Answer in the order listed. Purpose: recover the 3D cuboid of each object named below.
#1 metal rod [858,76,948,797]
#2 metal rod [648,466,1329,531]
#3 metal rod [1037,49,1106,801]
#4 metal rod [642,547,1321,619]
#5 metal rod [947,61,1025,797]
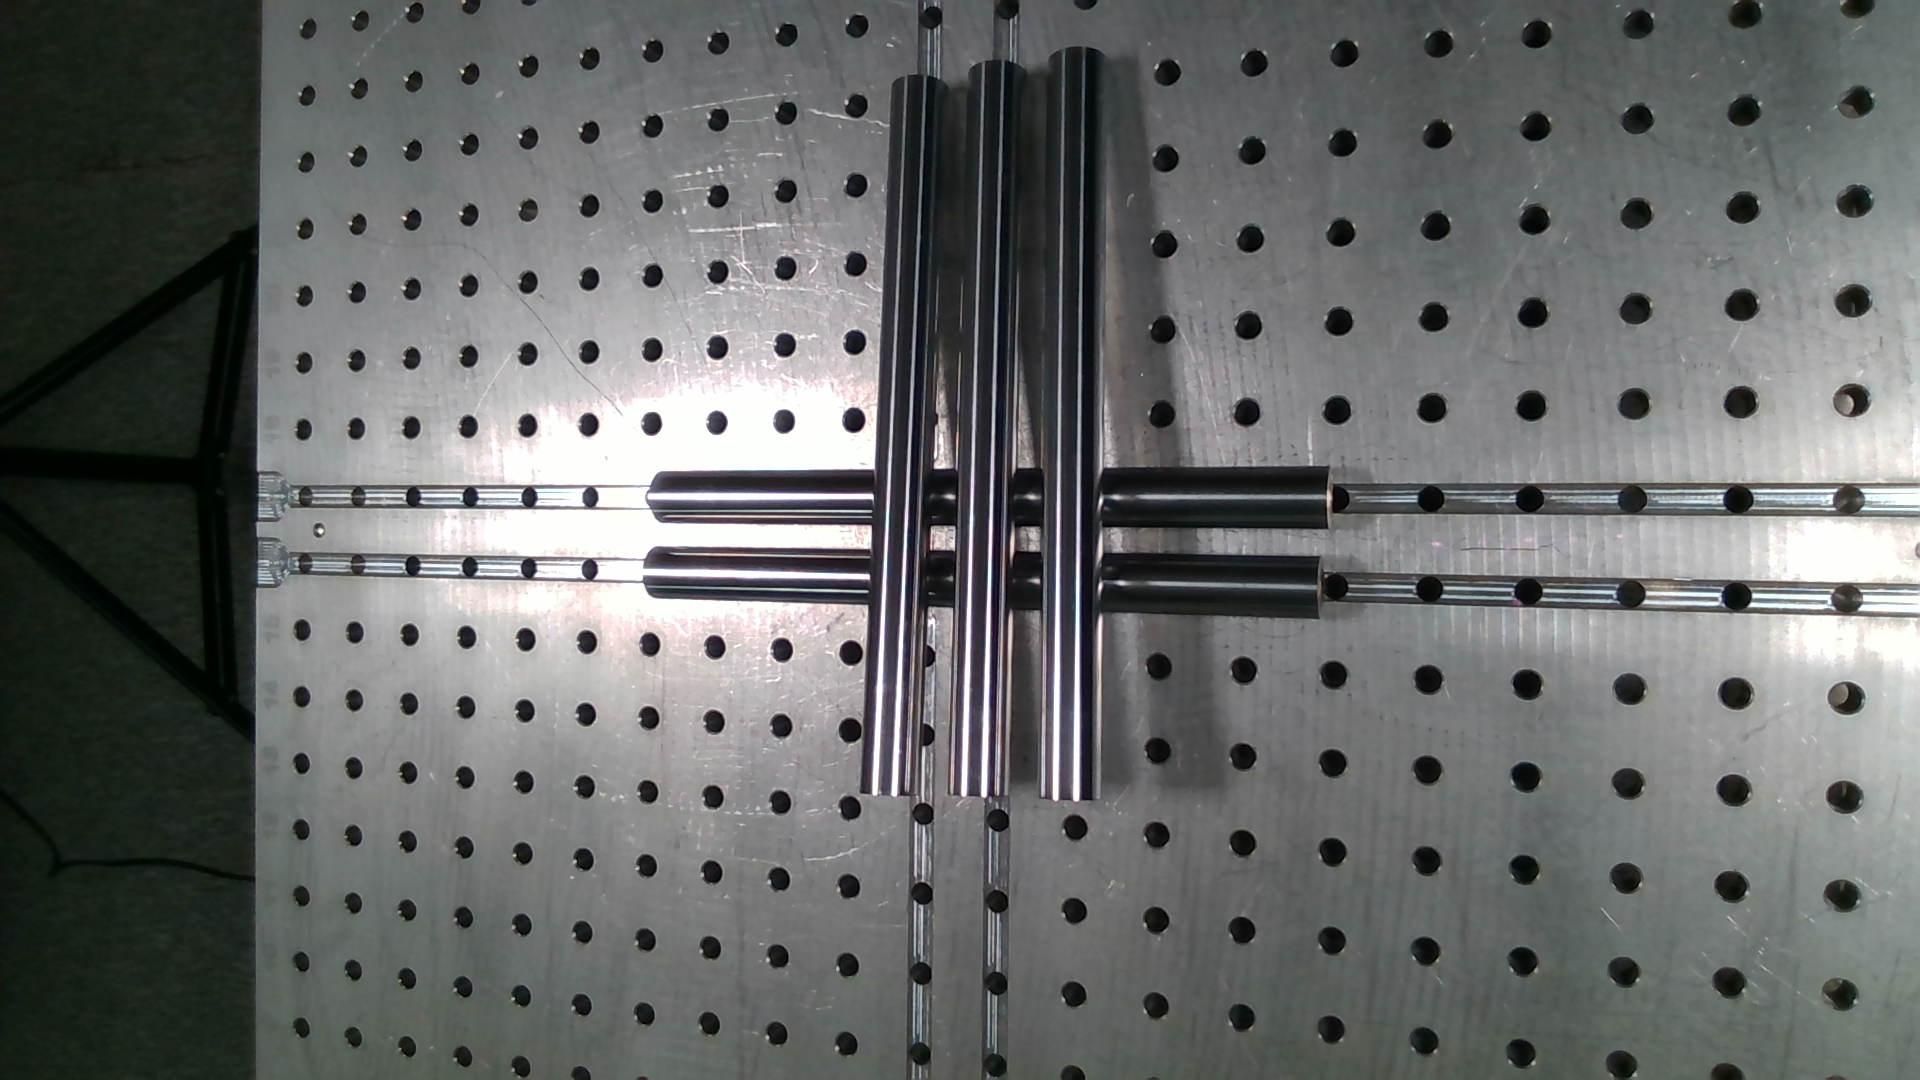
[{"bbox_3d":[-0.023,-0.046,0.574,0.025,0.025,0.300,-1,82,20],"label":"metal rod"},{"bbox_3d":[0.003,-0.018,0.587,0.300,0.025,0.025,1,91,20],"label":"metal rod"},{"bbox_3d":[0.045,-0.049,0.549,0.025,0.025,0.300,-2,82,20],"label":"metal rod"},{"bbox_3d":[0.000,0.016,0.589,0.300,0.025,0.025,1,91,20],"label":"metal rod"},{"bbox_3d":[0.011,-0.048,0.562,0.025,0.025,0.300,-1,82,20],"label":"metal rod"}]
